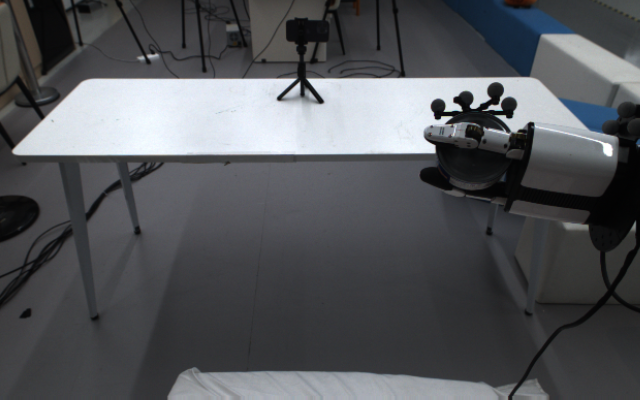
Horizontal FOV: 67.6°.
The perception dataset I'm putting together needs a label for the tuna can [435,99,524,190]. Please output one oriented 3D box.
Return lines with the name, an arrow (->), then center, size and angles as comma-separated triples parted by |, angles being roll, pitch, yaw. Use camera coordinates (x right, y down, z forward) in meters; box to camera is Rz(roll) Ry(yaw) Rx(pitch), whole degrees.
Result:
tuna can -> 0.177, -0.059, 0.555 | 0.085, 0.034, 0.085 | -4, 70, 12
